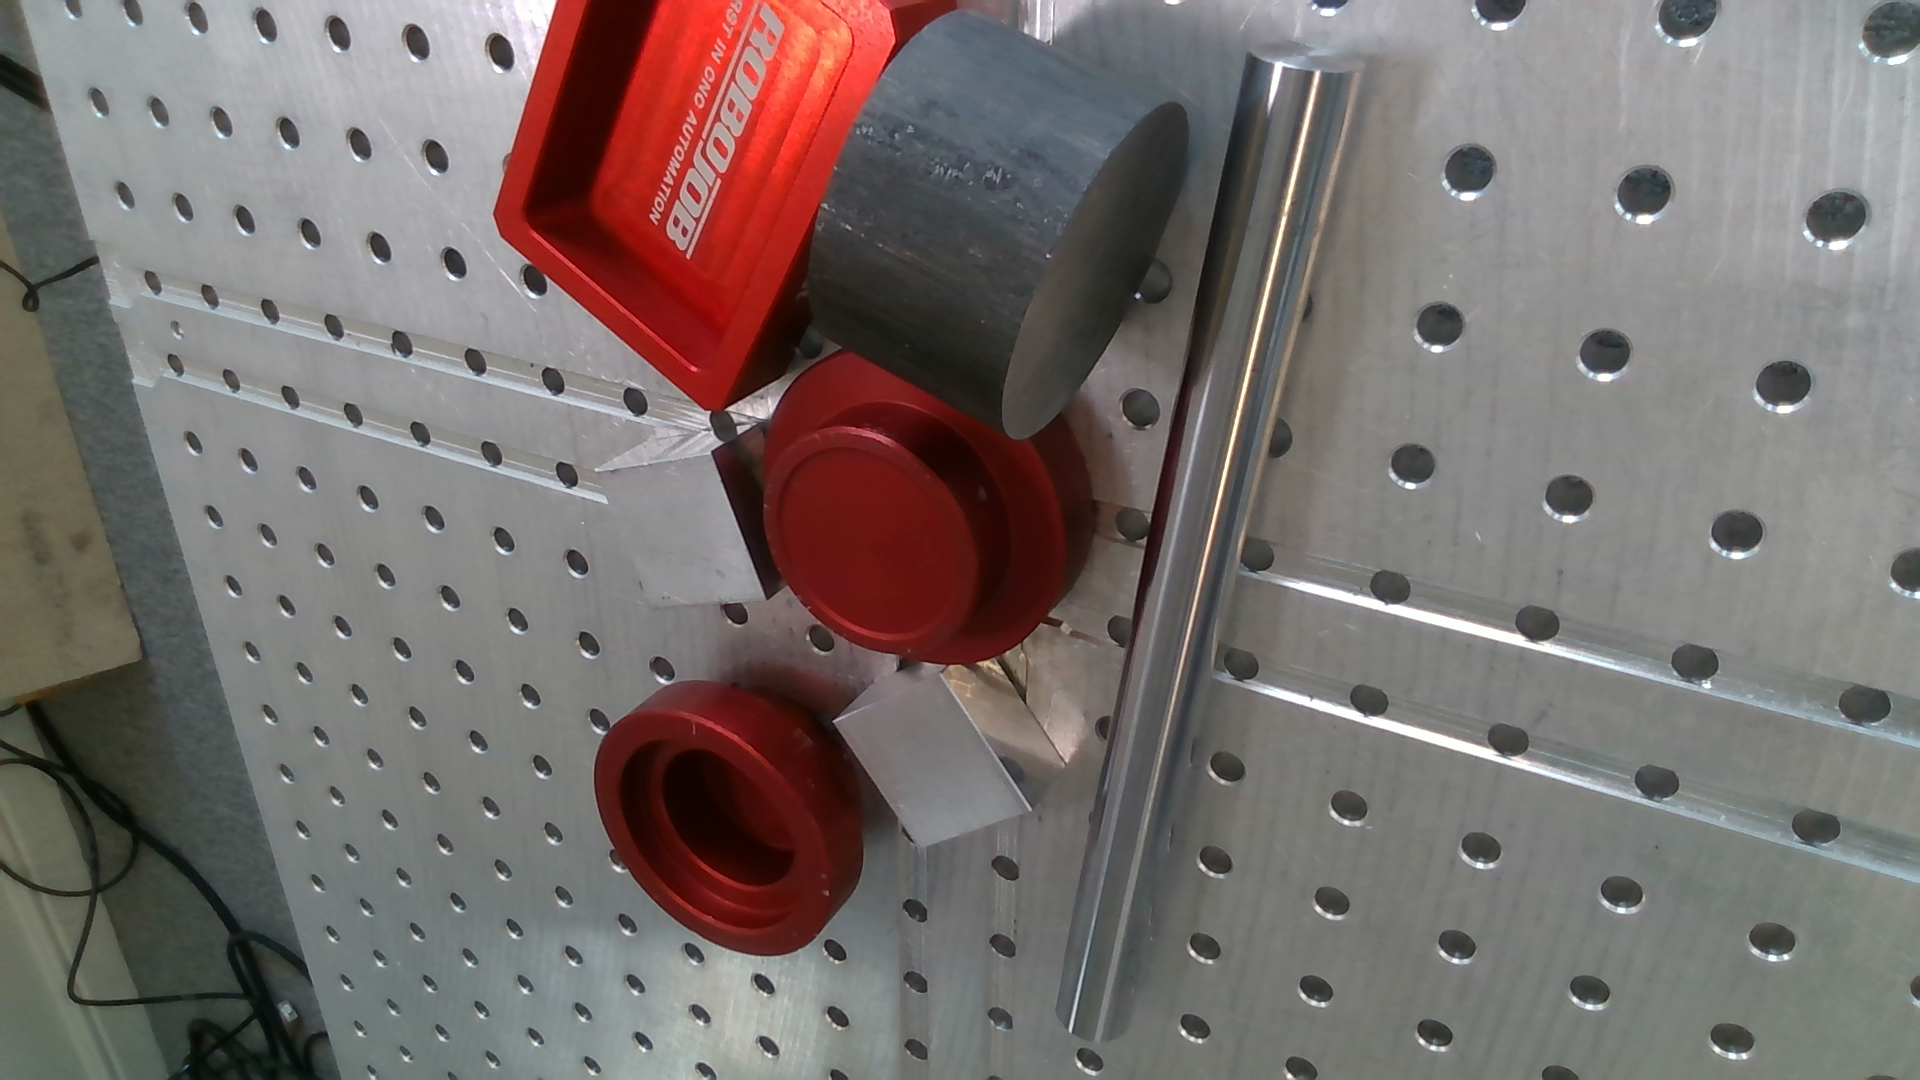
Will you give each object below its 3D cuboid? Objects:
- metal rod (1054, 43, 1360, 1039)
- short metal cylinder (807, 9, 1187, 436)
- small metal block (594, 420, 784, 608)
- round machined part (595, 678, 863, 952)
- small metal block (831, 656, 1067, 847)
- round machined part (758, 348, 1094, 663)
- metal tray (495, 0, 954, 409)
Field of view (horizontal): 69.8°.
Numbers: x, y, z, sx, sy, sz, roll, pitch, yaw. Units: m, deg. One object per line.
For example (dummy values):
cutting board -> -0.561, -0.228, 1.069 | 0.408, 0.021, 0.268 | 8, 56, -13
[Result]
metal rod -> 0.057, 0.025, 0.370 | 0.025, 0.025, 0.301 | 20, 124, 21
short metal cylinder -> 0.009, -0.071, 0.312 | 0.050, 0.080, 0.080 | 30, 127, 15
small metal block -> -0.082, -0.007, 0.438 | 0.050, 0.025, 0.050 | -5, 112, 34
round machined part -> -0.075, 0.090, 0.476 | 0.098, 0.042, 0.098 | 15, 122, 25
small metal block -> -0.004, 0.063, 0.429 | 0.050, 0.025, 0.050 | -28, 99, 39
round machined part -> -0.016, -0.008, 0.386 | 0.098, 0.042, 0.098 | 13, 121, 22
metal tray -> -0.068, -0.111, 0.369 | 0.090, 0.030, 0.130 | 40, 129, 7
